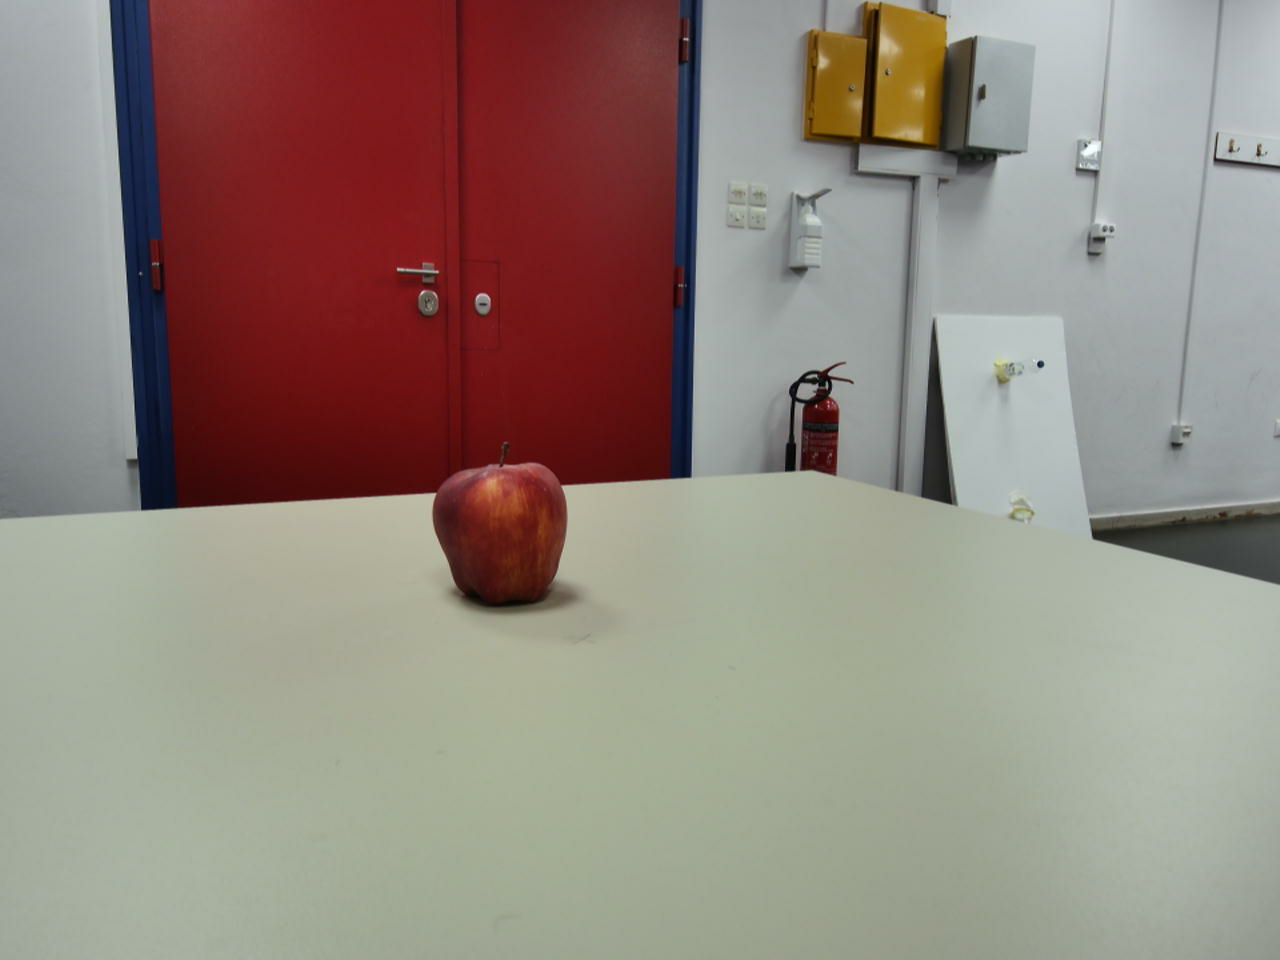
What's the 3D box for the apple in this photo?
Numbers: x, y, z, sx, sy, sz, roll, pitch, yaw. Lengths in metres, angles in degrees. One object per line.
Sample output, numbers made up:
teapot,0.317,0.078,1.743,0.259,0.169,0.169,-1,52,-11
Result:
apple,-0.081,0.024,0.581,0.083,0.090,0.083,0,7,0
